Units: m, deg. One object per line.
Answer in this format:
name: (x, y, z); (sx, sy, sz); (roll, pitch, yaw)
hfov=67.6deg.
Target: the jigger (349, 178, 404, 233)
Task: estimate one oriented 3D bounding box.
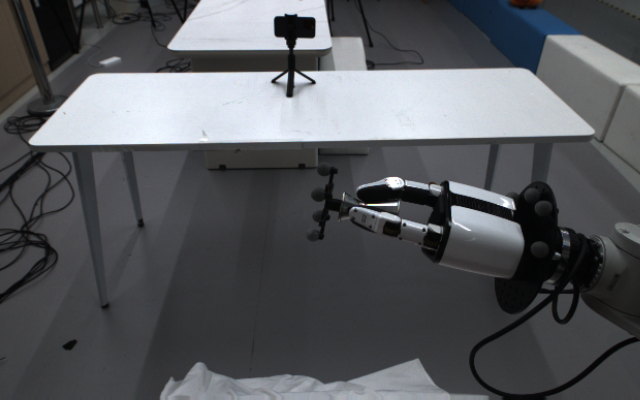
jigger: (0.065, 0.011, 0.584); (0.071, 0.043, 0.043); (10, 35, 3)
